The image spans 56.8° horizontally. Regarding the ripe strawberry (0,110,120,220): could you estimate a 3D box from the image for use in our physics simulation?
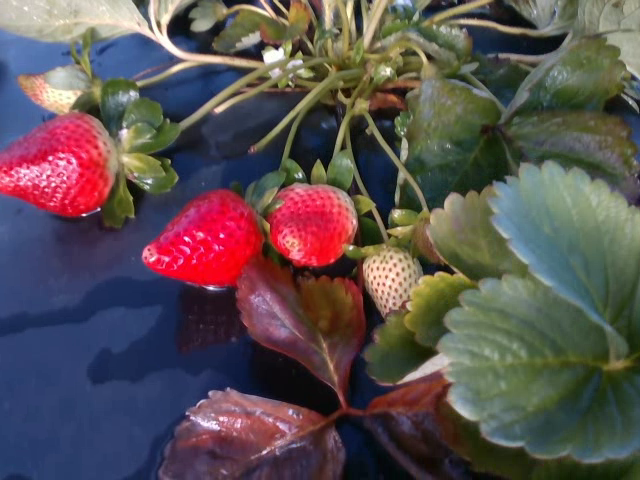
[{"bbox_3d":[-0.120,-0.036,0.256,0.065,0.050,0.050,-6,18,-37],"label":"ripe strawberry"}]

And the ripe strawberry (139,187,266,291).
[{"bbox_3d":[-0.049,0.002,0.226,0.044,0.042,0.055,-8,6,39],"label":"ripe strawberry"}]
